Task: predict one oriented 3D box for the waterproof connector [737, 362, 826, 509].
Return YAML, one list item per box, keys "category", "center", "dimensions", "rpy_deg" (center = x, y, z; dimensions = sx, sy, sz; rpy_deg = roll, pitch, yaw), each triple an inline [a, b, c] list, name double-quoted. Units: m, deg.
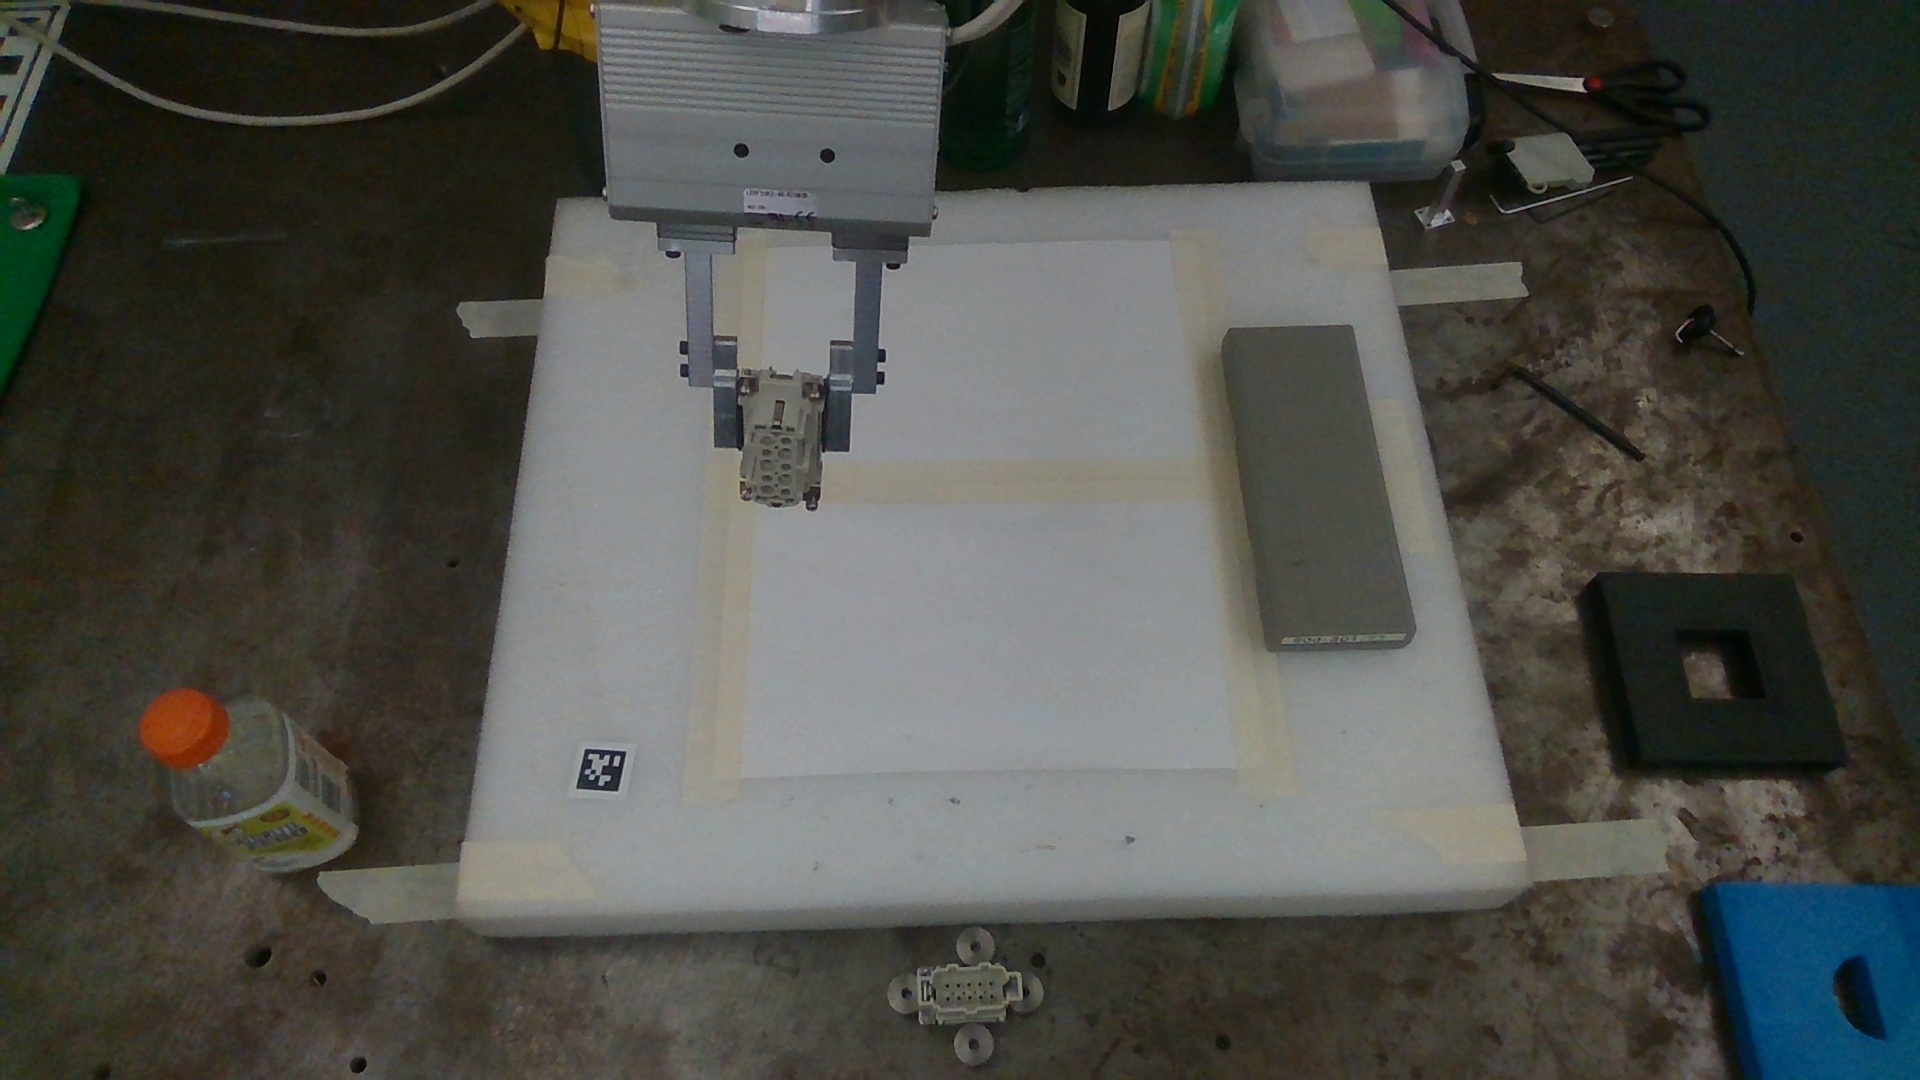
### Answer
- category: "waterproof connector"
  center: [-0.077, -0.044, 0.594]
  dimensions: [0.037, 0.069, 0.038]
  rpy_deg: [5, 36, -2]
